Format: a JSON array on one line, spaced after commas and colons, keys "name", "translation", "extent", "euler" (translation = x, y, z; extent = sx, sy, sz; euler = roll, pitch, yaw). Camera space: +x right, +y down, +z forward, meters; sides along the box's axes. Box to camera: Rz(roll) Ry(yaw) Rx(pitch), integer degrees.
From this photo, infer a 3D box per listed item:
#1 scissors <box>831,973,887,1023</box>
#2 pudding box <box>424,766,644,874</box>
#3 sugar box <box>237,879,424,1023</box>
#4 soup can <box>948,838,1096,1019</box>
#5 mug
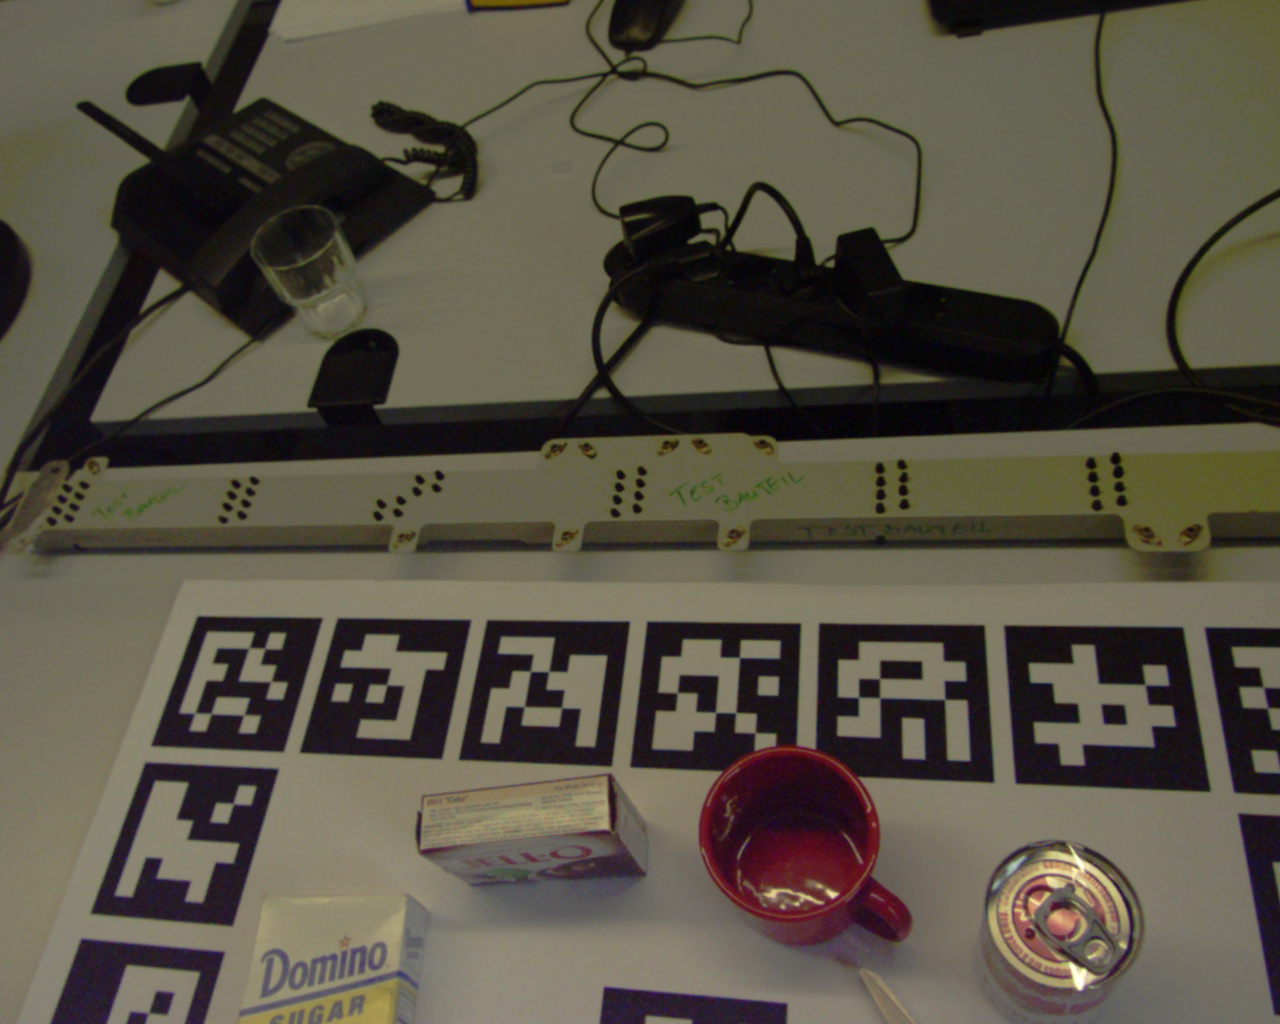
[{"name": "scissors", "translation": [0.167, 0.317, 0.574], "extent": [0.088, 0.015, 0.205], "euler": [-41, 58, -1]}, {"name": "pudding box", "translation": [-0.060, 0.183, 0.673], "extent": [0.114, 0.089, 0.039], "euler": [-8, 63, 9]}, {"name": "sugar box", "translation": [-0.187, 0.307, 0.662], "extent": [0.093, 0.045, 0.177], "euler": [-4, 59, 14]}, {"name": "soup can", "translation": [0.194, 0.218, 0.590], "extent": [0.068, 0.101, 0.068], "euler": [-7, 55, 10]}, {"name": "mug", "translation": [0.086, 0.186, 0.641], "extent": [0.093, 0.081, 0.118], "euler": [-32, 55, -4]}]
